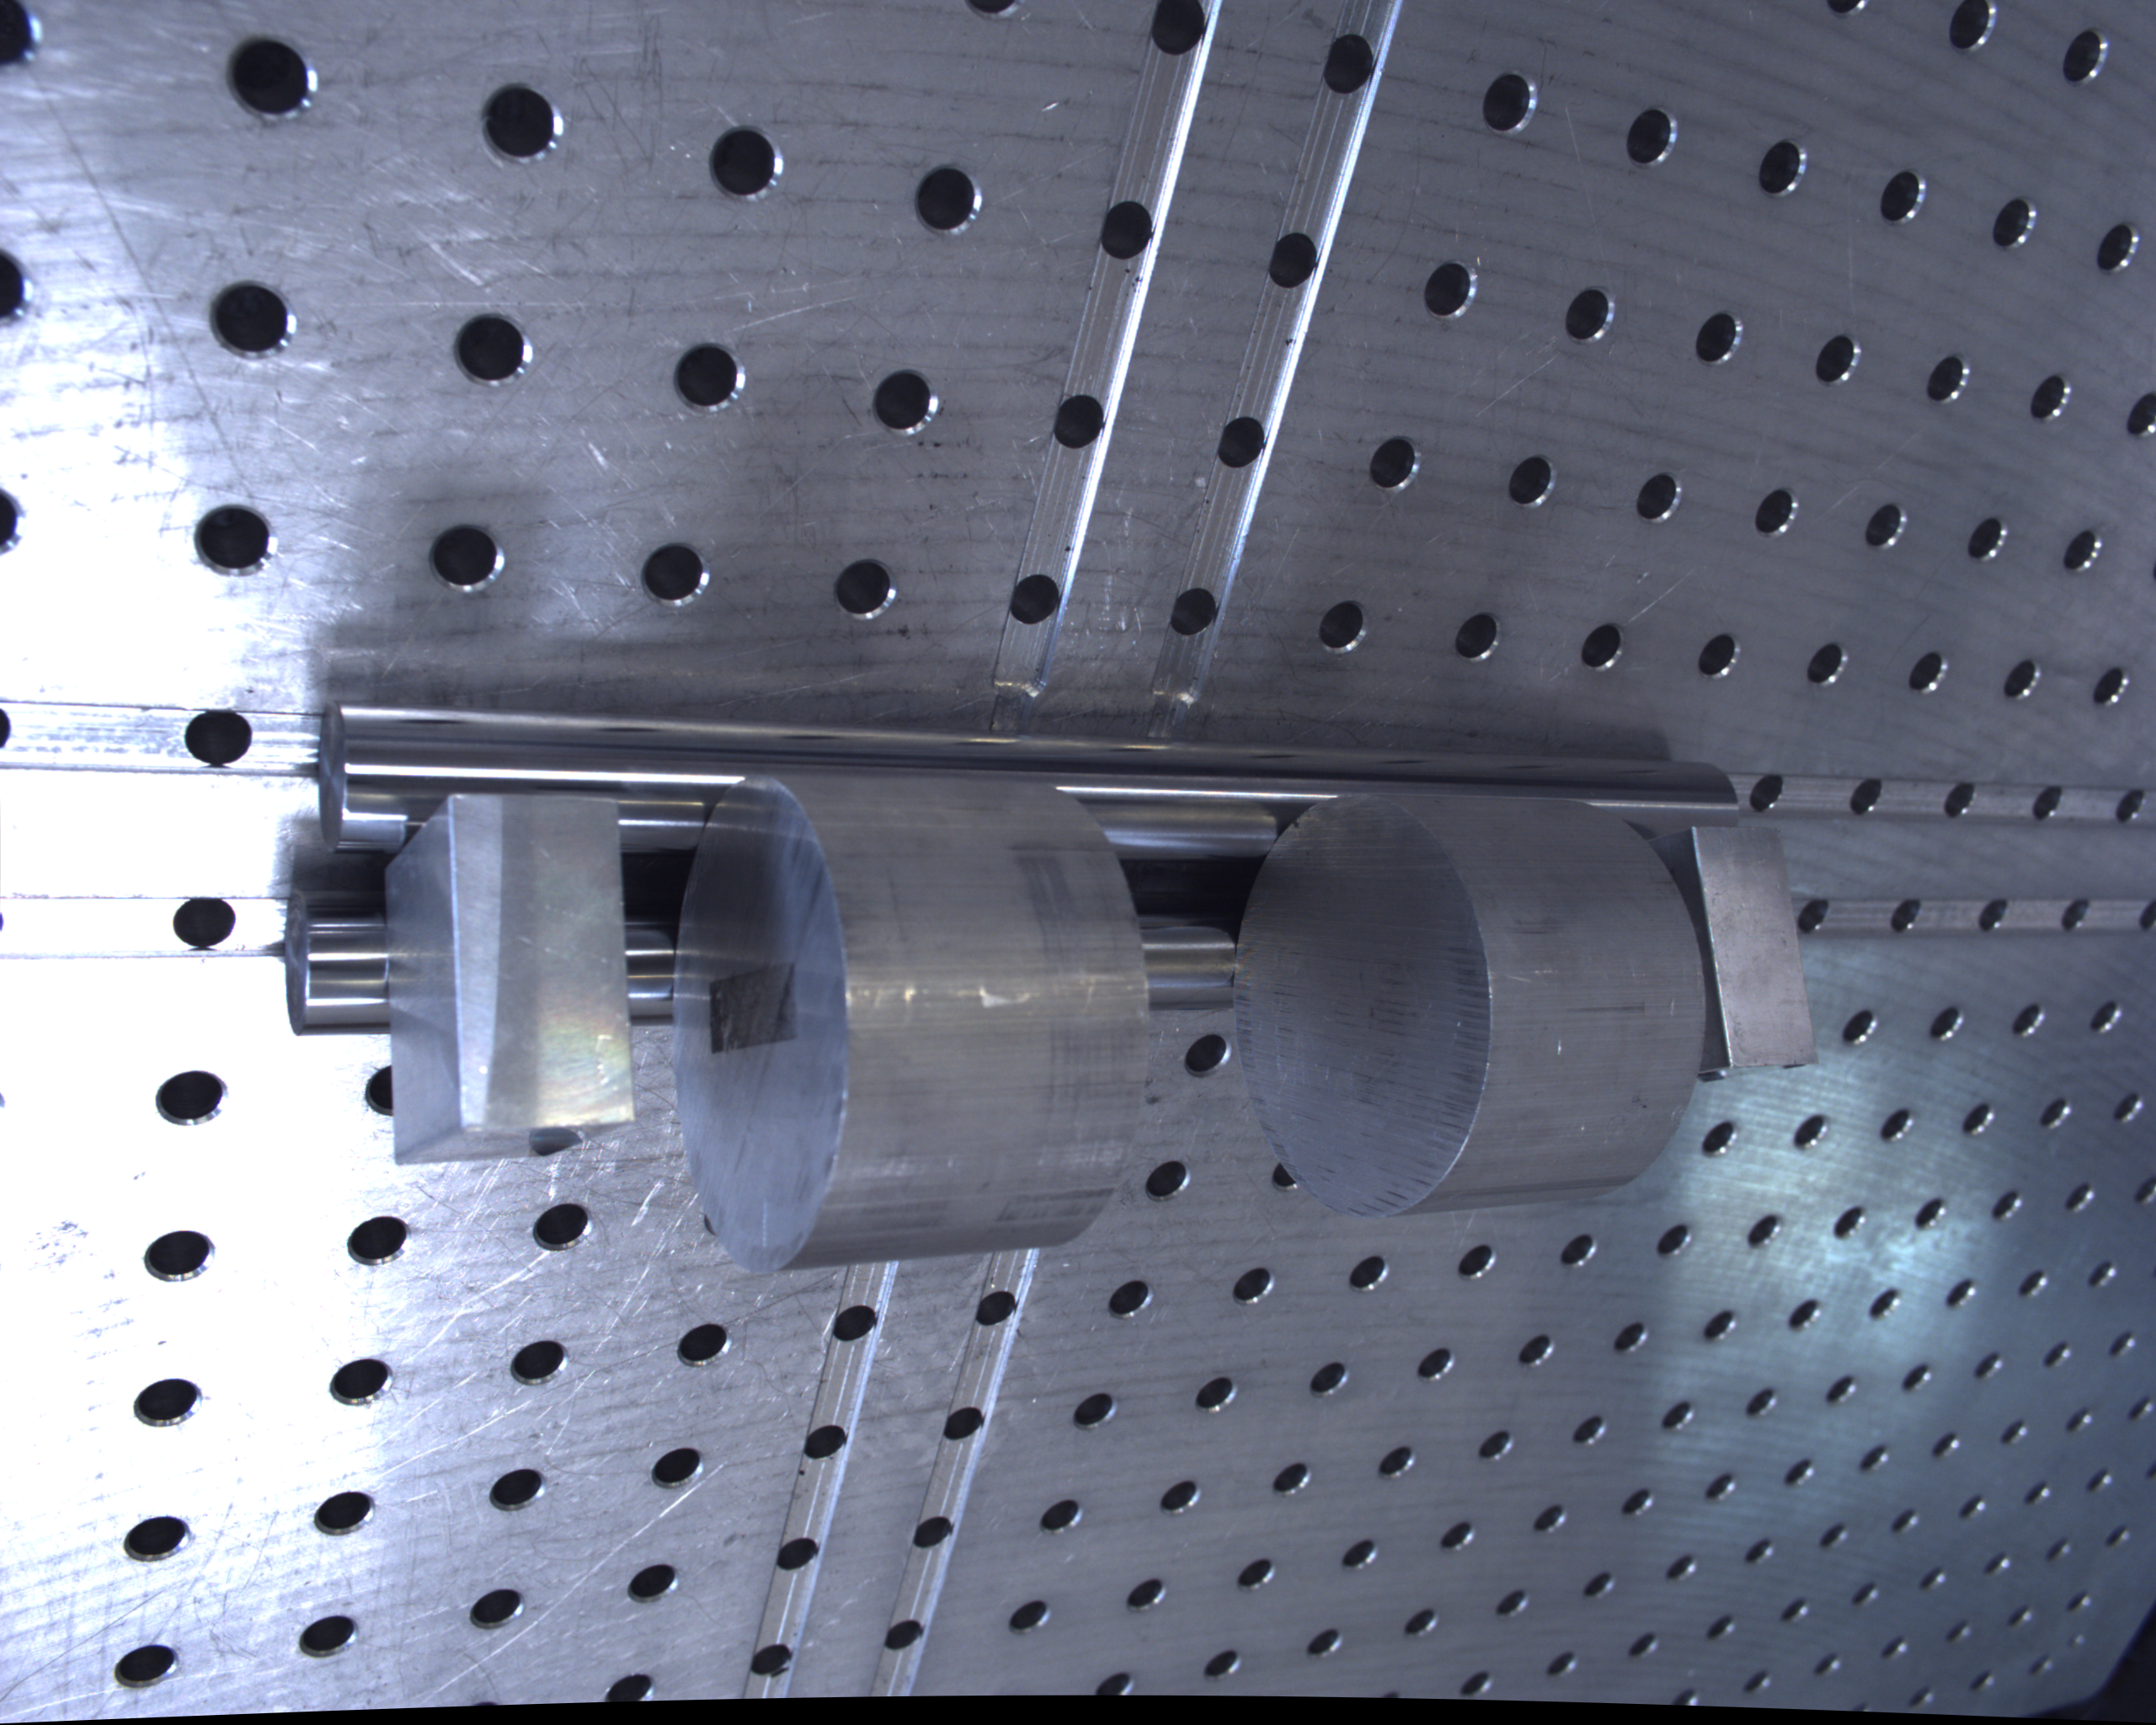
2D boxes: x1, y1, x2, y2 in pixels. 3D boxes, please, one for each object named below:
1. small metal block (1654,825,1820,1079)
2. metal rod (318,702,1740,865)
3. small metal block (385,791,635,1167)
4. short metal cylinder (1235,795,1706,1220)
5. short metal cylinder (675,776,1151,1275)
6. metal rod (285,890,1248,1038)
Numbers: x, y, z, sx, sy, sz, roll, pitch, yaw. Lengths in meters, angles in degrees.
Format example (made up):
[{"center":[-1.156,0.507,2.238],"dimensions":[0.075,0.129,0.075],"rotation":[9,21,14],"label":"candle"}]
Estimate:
[{"center":[0.127,0.022,0.449],"dimensions":[0.025,0.050,0.050],"rotation":[1,77,-28],"label":"small metal block"},{"center":[0.012,-0.012,0.410],"dimensions":[0.303,0.025,0.025],"rotation":[1,118,-29],"label":"metal rod"},{"center":[-0.091,0.020,0.329],"dimensions":[0.025,0.050,0.050],"rotation":[1,76,-29],"label":"small metal block"},{"center":[0.073,0.027,0.404],"dimensions":[0.050,0.080,0.079],"rotation":[1,118,-29],"label":"short metal cylinder"},{"center":[-0.030,0.026,0.347],"dimensions":[0.050,0.080,0.079],"rotation":[1,118,-29],"label":"short metal cylinder"},{"center":[0.001,0.018,0.423],"dimensions":[0.303,0.025,0.025],"rotation":[1,118,-29],"label":"metal rod"}]
